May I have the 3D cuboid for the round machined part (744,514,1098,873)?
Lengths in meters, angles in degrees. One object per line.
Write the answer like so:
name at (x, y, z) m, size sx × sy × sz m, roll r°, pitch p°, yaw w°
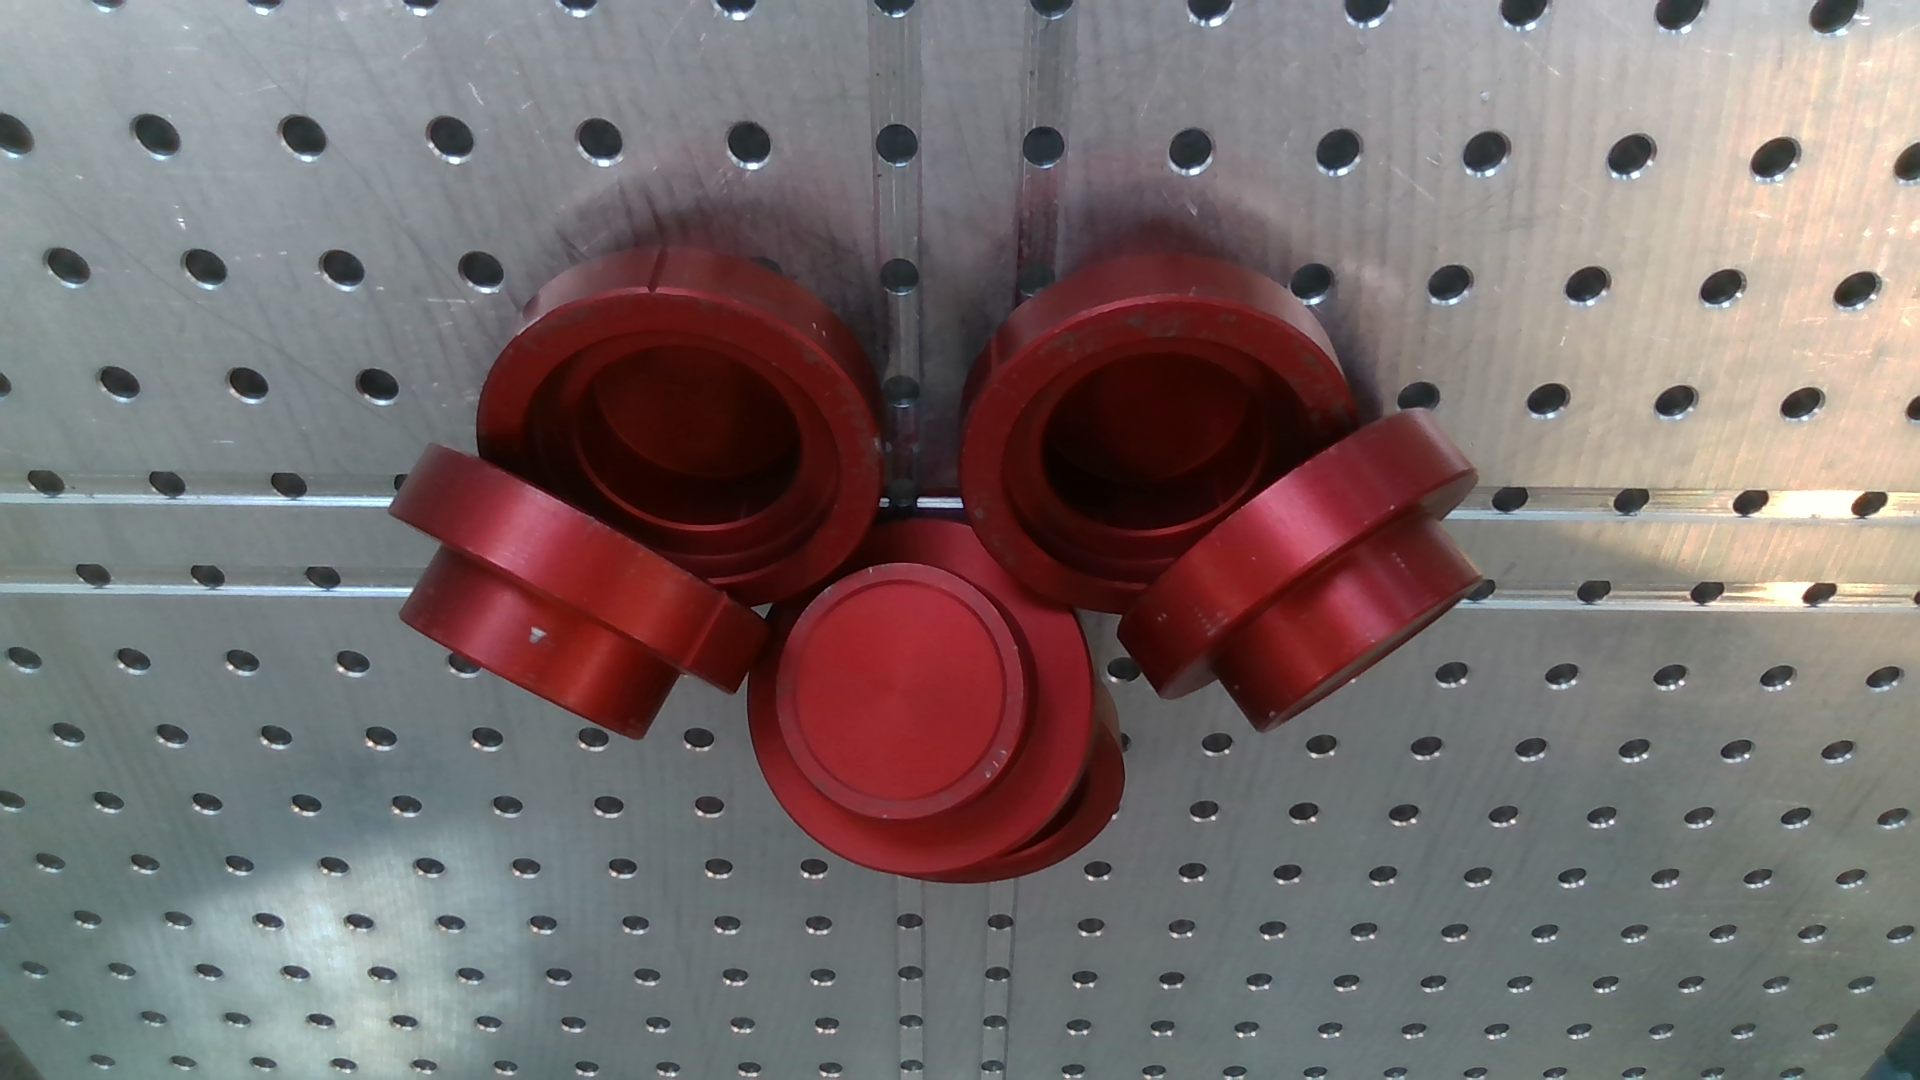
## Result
round machined part at (-0.012, 0.041, 0.375) m, size 0.098 × 0.098 × 0.042 m, roll -11°, pitch 171°, yaw 9°

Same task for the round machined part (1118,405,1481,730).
round machined part at (0.093, 0.013, 0.355) m, size 0.098 × 0.042 × 0.098 m, roll -32°, pitch 164°, yaw -10°

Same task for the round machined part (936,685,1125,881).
round machined part at (0.000, 0.060, 0.430) m, size 0.098 × 0.042 × 0.098 m, roll 0°, pitch 130°, yaw 0°

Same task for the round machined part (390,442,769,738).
round machined part at (-0.103, 0.017, 0.357) m, size 0.098 × 0.042 × 0.098 m, roll 26°, pitch 169°, yaw 5°

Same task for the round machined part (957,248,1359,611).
round machined part at (0.048, -0.031, 0.352) m, size 0.098 × 0.042 × 0.098 m, roll 0°, pitch 130°, yaw 0°

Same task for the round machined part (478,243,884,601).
round machined part at (-0.068, -0.032, 0.352) m, size 0.098 × 0.042 × 0.098 m, roll 0°, pitch 130°, yaw 0°
